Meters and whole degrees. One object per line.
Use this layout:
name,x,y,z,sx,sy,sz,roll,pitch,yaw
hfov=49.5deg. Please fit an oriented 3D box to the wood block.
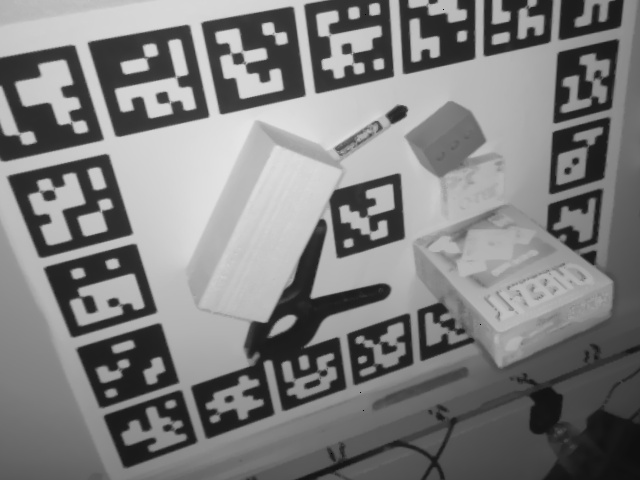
wood block,-0.051,-0.027,0.778,0.091,0.091,0.204,17,109,-29

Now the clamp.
clamp,0.001,0.083,0.876,0.202,0.036,0.166,-44,120,2

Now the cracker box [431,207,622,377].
cracker box,0.255,0.053,0.851,0.165,0.213,0.071,-19,121,-9

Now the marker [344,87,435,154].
marker,0.083,-0.141,0.811,0.121,0.019,0.019,-34,119,-3

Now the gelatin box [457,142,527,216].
gelatin box,0.223,-0.079,0.892,0.090,0.030,0.073,-18,117,-13

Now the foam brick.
foam brick,0.176,-0.133,0.833,0.078,0.051,0.053,-38,119,-1
